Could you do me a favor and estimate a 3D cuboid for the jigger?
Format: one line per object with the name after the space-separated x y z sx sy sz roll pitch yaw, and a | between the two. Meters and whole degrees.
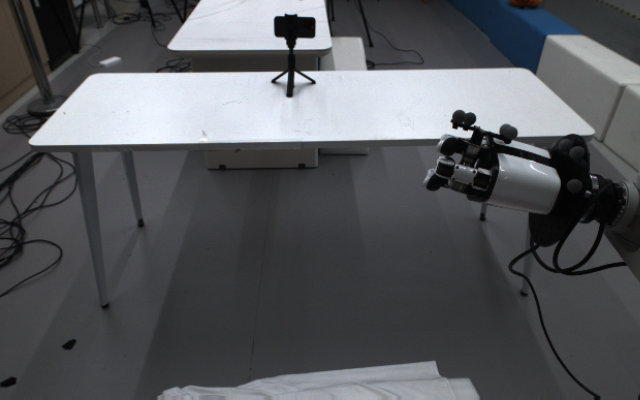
0.204 -0.047 0.673 0.043 0.071 0.043 15 17 -5 | jigger
